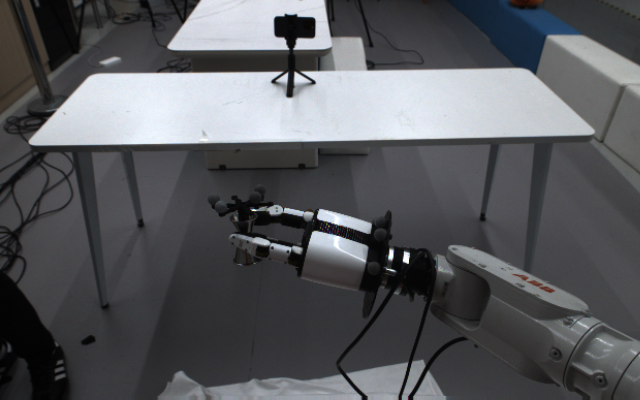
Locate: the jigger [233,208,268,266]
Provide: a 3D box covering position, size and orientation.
[{"bbox_3d":[-0.107,0.055,0.701,0.043,0.071,0.043,-2,20,1],"label":"jigger"}]
